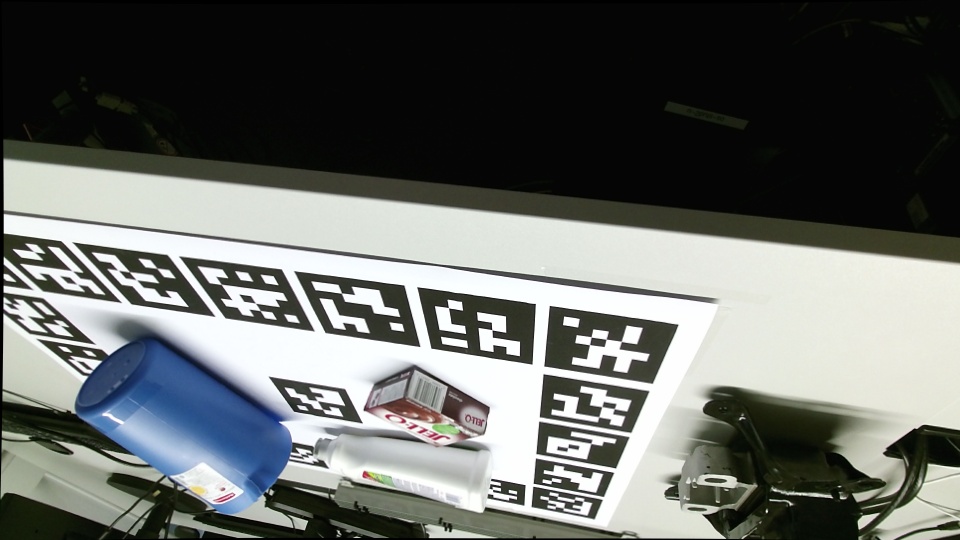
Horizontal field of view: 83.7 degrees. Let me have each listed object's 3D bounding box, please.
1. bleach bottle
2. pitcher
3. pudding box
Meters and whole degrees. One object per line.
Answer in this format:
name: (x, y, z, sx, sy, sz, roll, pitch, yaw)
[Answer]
bleach bottle: (-0.118, 0.283, 0.747, 0.251, 0.067, 0.103, 5, 134, 14)
pitcher: (-0.383, 0.196, 0.706, 0.188, 0.133, 0.243, 21, 149, 51)
pudding box: (-0.069, 0.167, 0.613, 0.114, 0.038, 0.090, 38, 140, -22)
